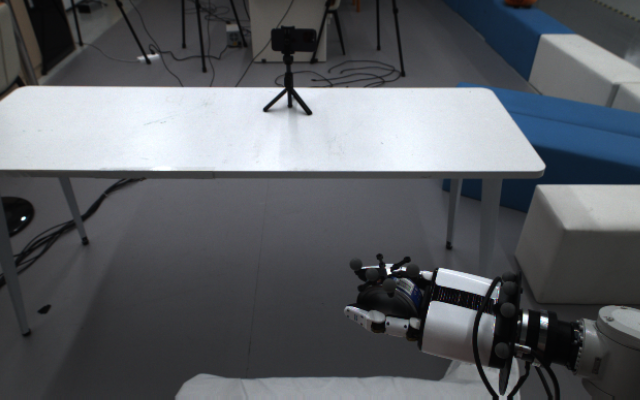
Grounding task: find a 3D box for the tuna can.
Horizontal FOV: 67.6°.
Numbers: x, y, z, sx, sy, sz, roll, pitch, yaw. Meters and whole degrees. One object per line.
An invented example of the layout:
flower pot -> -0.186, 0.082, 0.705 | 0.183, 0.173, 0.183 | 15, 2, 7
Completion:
tuna can -> 0.098, 0.137, 0.659 | 0.085, 0.085, 0.034 | 17, 37, 20
